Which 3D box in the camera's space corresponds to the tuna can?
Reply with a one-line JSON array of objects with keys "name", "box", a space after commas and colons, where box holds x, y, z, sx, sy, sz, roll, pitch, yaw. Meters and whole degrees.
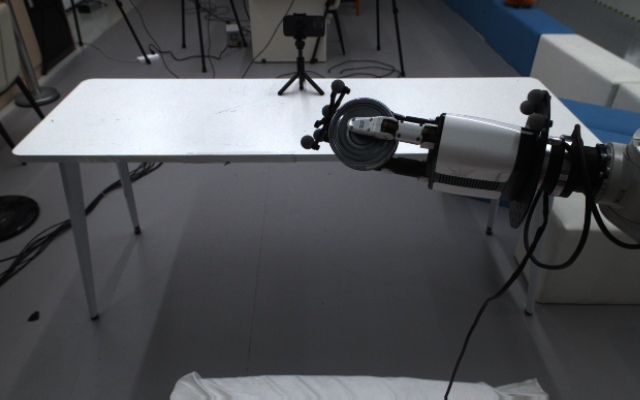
[{"name": "tuna can", "box": [0.055, -0.083, 0.597, 0.085, 0.085, 0.034, 9, -5, 10]}]
